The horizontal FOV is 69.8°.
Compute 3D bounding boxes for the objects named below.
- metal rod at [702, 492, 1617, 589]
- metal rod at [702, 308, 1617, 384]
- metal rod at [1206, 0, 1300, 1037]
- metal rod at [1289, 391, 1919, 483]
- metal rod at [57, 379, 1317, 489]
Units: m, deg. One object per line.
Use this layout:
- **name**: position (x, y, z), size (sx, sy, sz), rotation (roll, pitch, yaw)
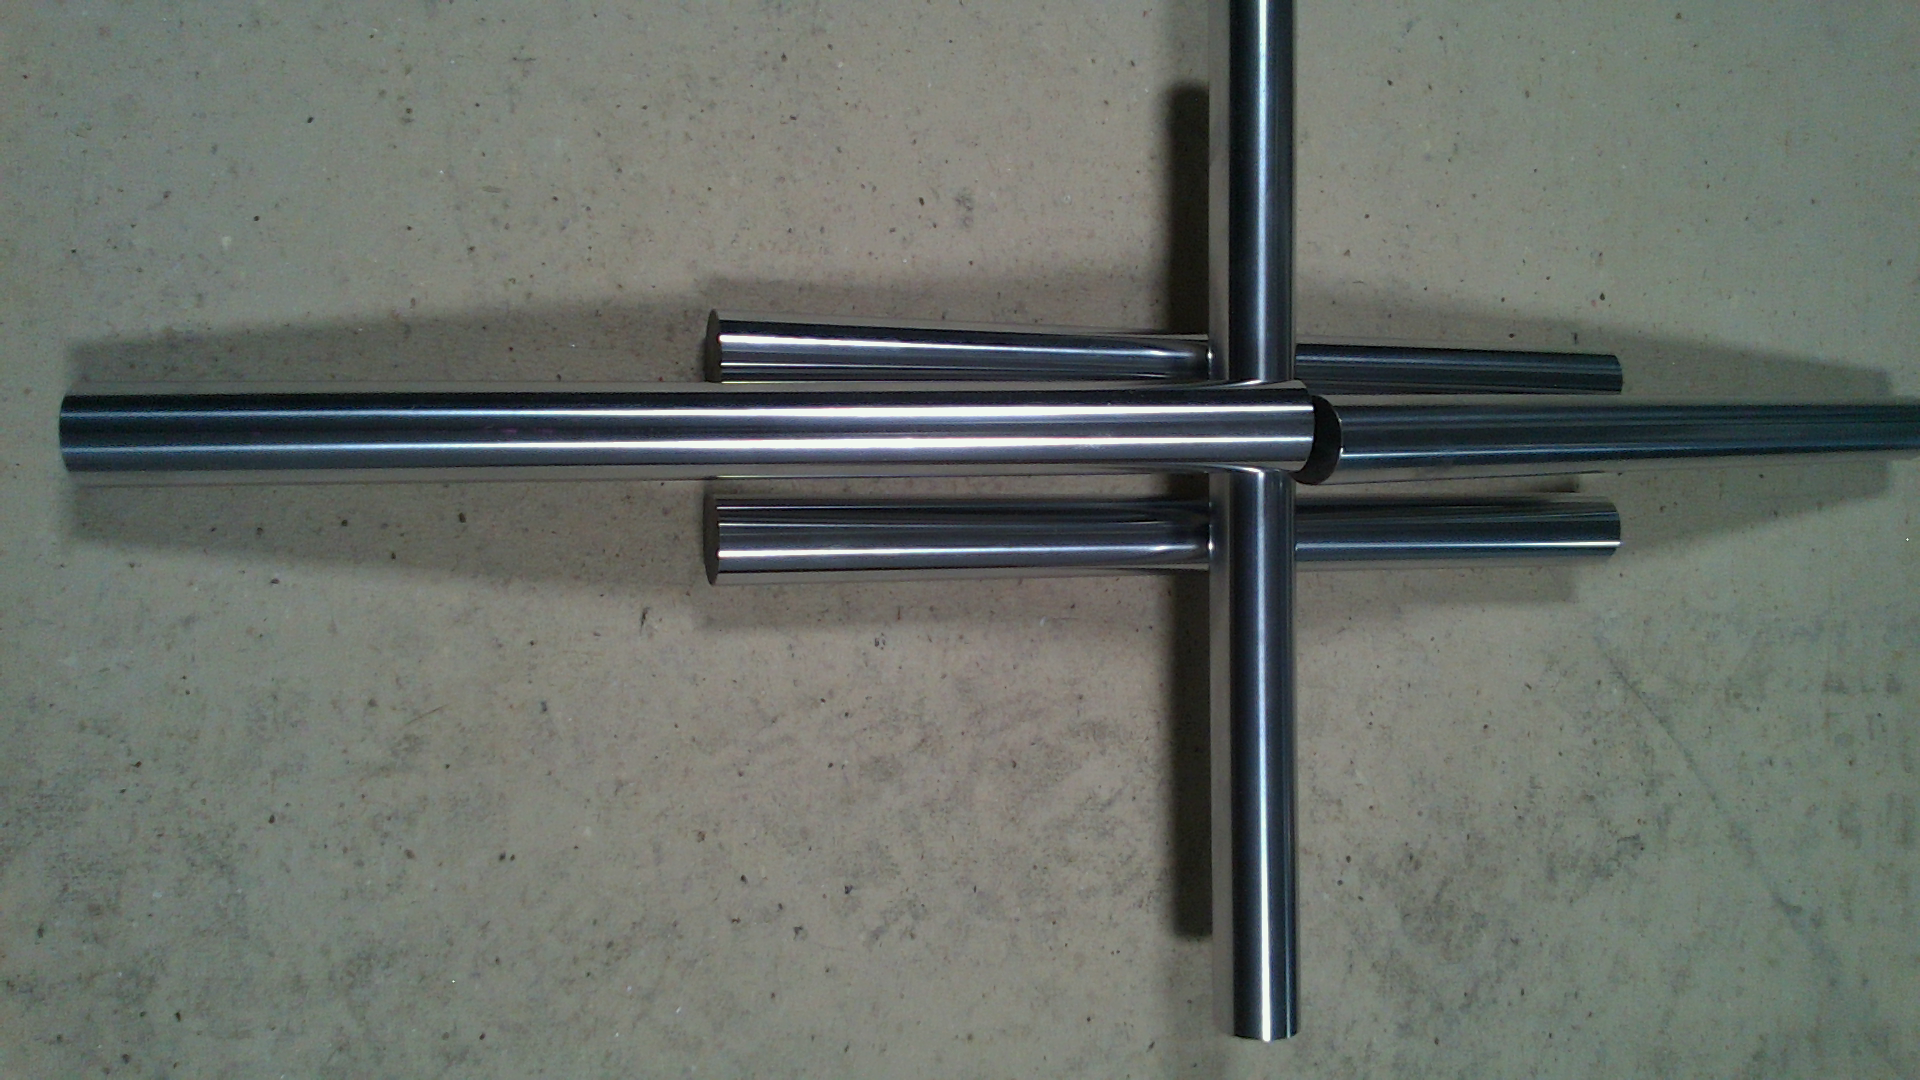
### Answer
- **metal rod**: position (0.074, -0.002, 0.420), size (0.301, 0.025, 0.025), rotation (-1, 90, -20)
- **metal rod**: position (0.074, -0.052, 0.420), size (0.301, 0.025, 0.025), rotation (-1, 90, -20)
- **metal rod**: position (0.085, -0.011, 0.398), size (0.025, 0.025, 0.300), rotation (-1, 90, -20)
- **metal rod**: position (0.225, -0.036, 0.449), size (0.301, 0.025, 0.025), rotation (-4, 91, -30)
- **metal rod**: position (-0.056, -0.028, 0.346), size (0.300, 0.025, 0.025), rotation (-1, 91, -10)
